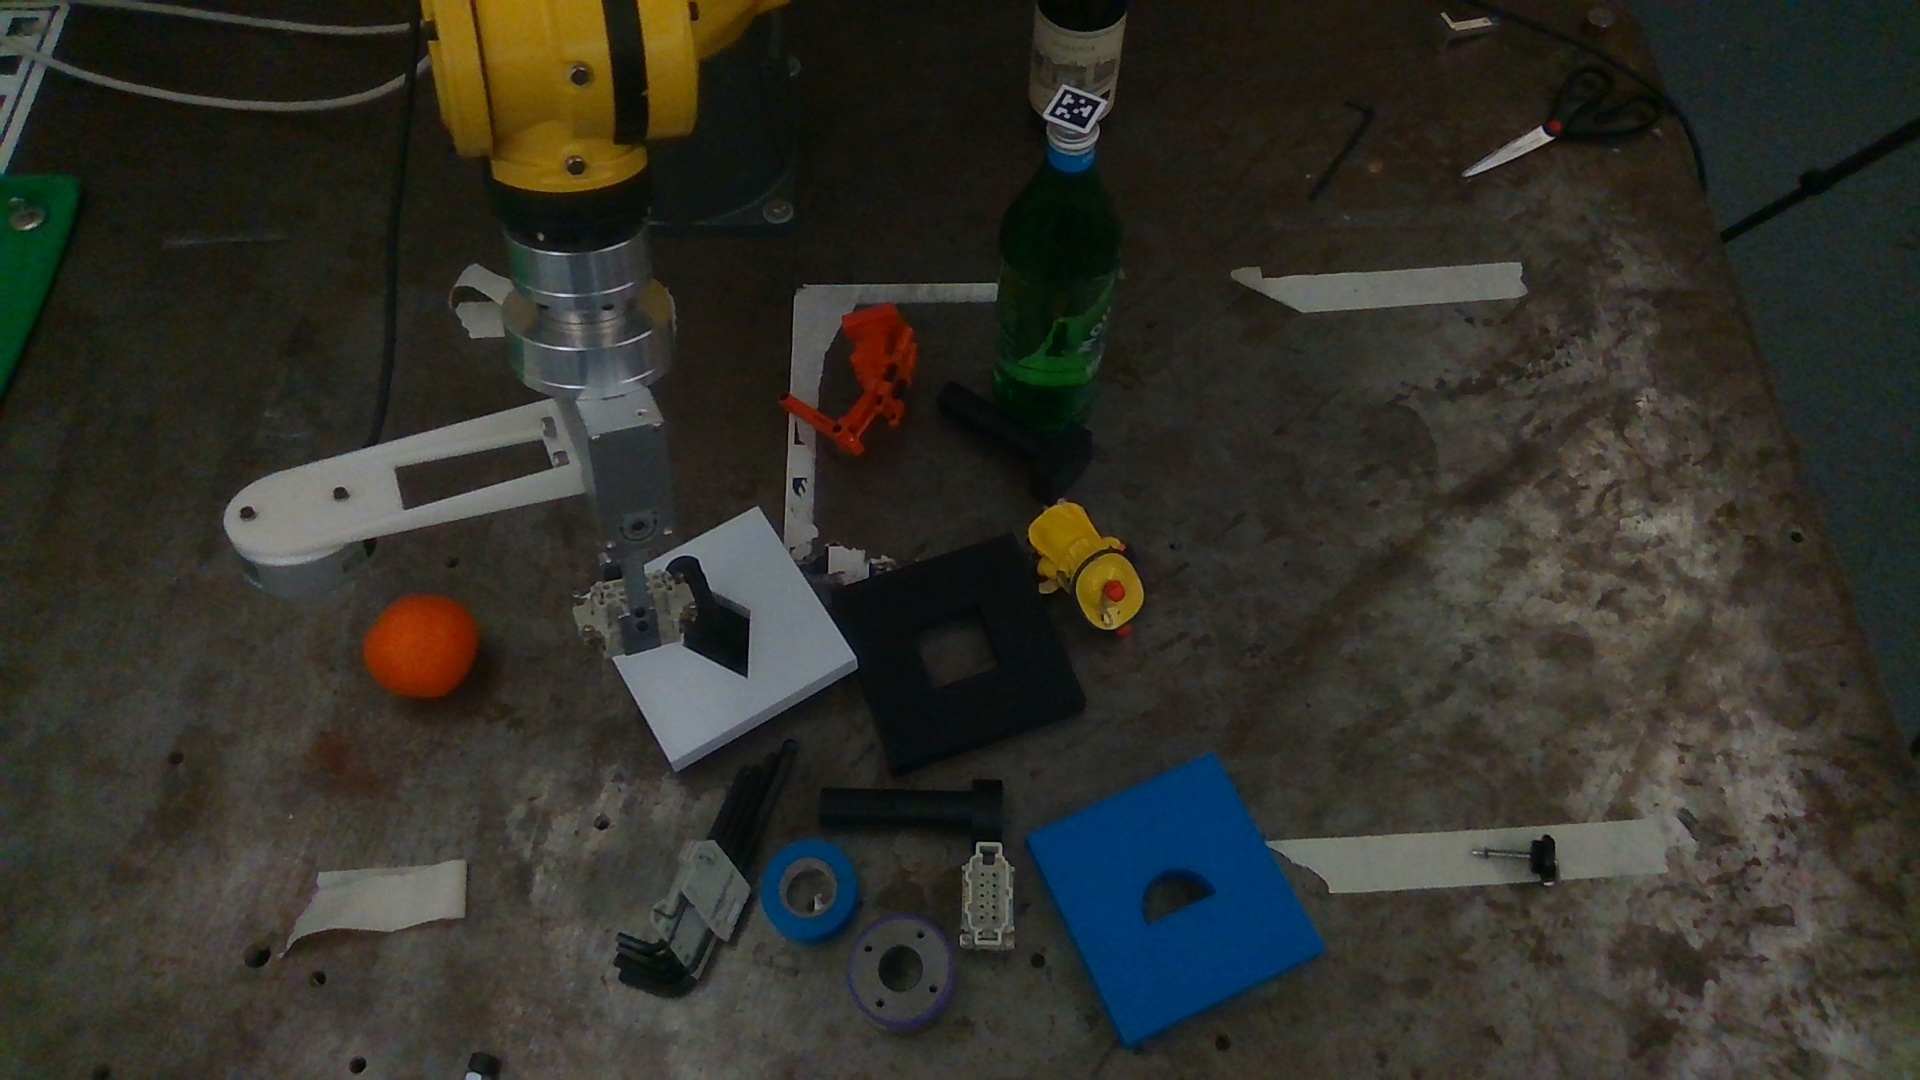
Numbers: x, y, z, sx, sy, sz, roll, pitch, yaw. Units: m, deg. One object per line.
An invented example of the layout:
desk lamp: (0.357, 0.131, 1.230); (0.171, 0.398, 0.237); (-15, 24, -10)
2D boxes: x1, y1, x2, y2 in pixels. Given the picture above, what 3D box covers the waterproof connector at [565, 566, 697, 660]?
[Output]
waterproof connector: (-0.183, 0.037, 0.770); (0.069, 0.038, 0.037); (-14, 51, -19)
